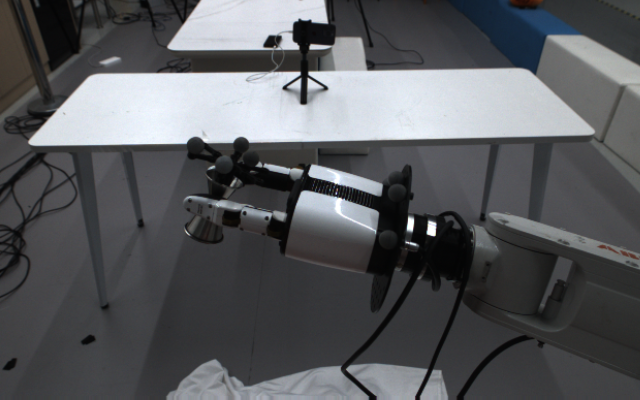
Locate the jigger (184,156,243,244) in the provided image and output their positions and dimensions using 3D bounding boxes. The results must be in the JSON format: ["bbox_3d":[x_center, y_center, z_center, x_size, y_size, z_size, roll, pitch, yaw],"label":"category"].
[{"bbox_3d":[-0.112,0.007,0.510,0.043,0.071,0.043,23,19,-8],"label":"jigger"}]
